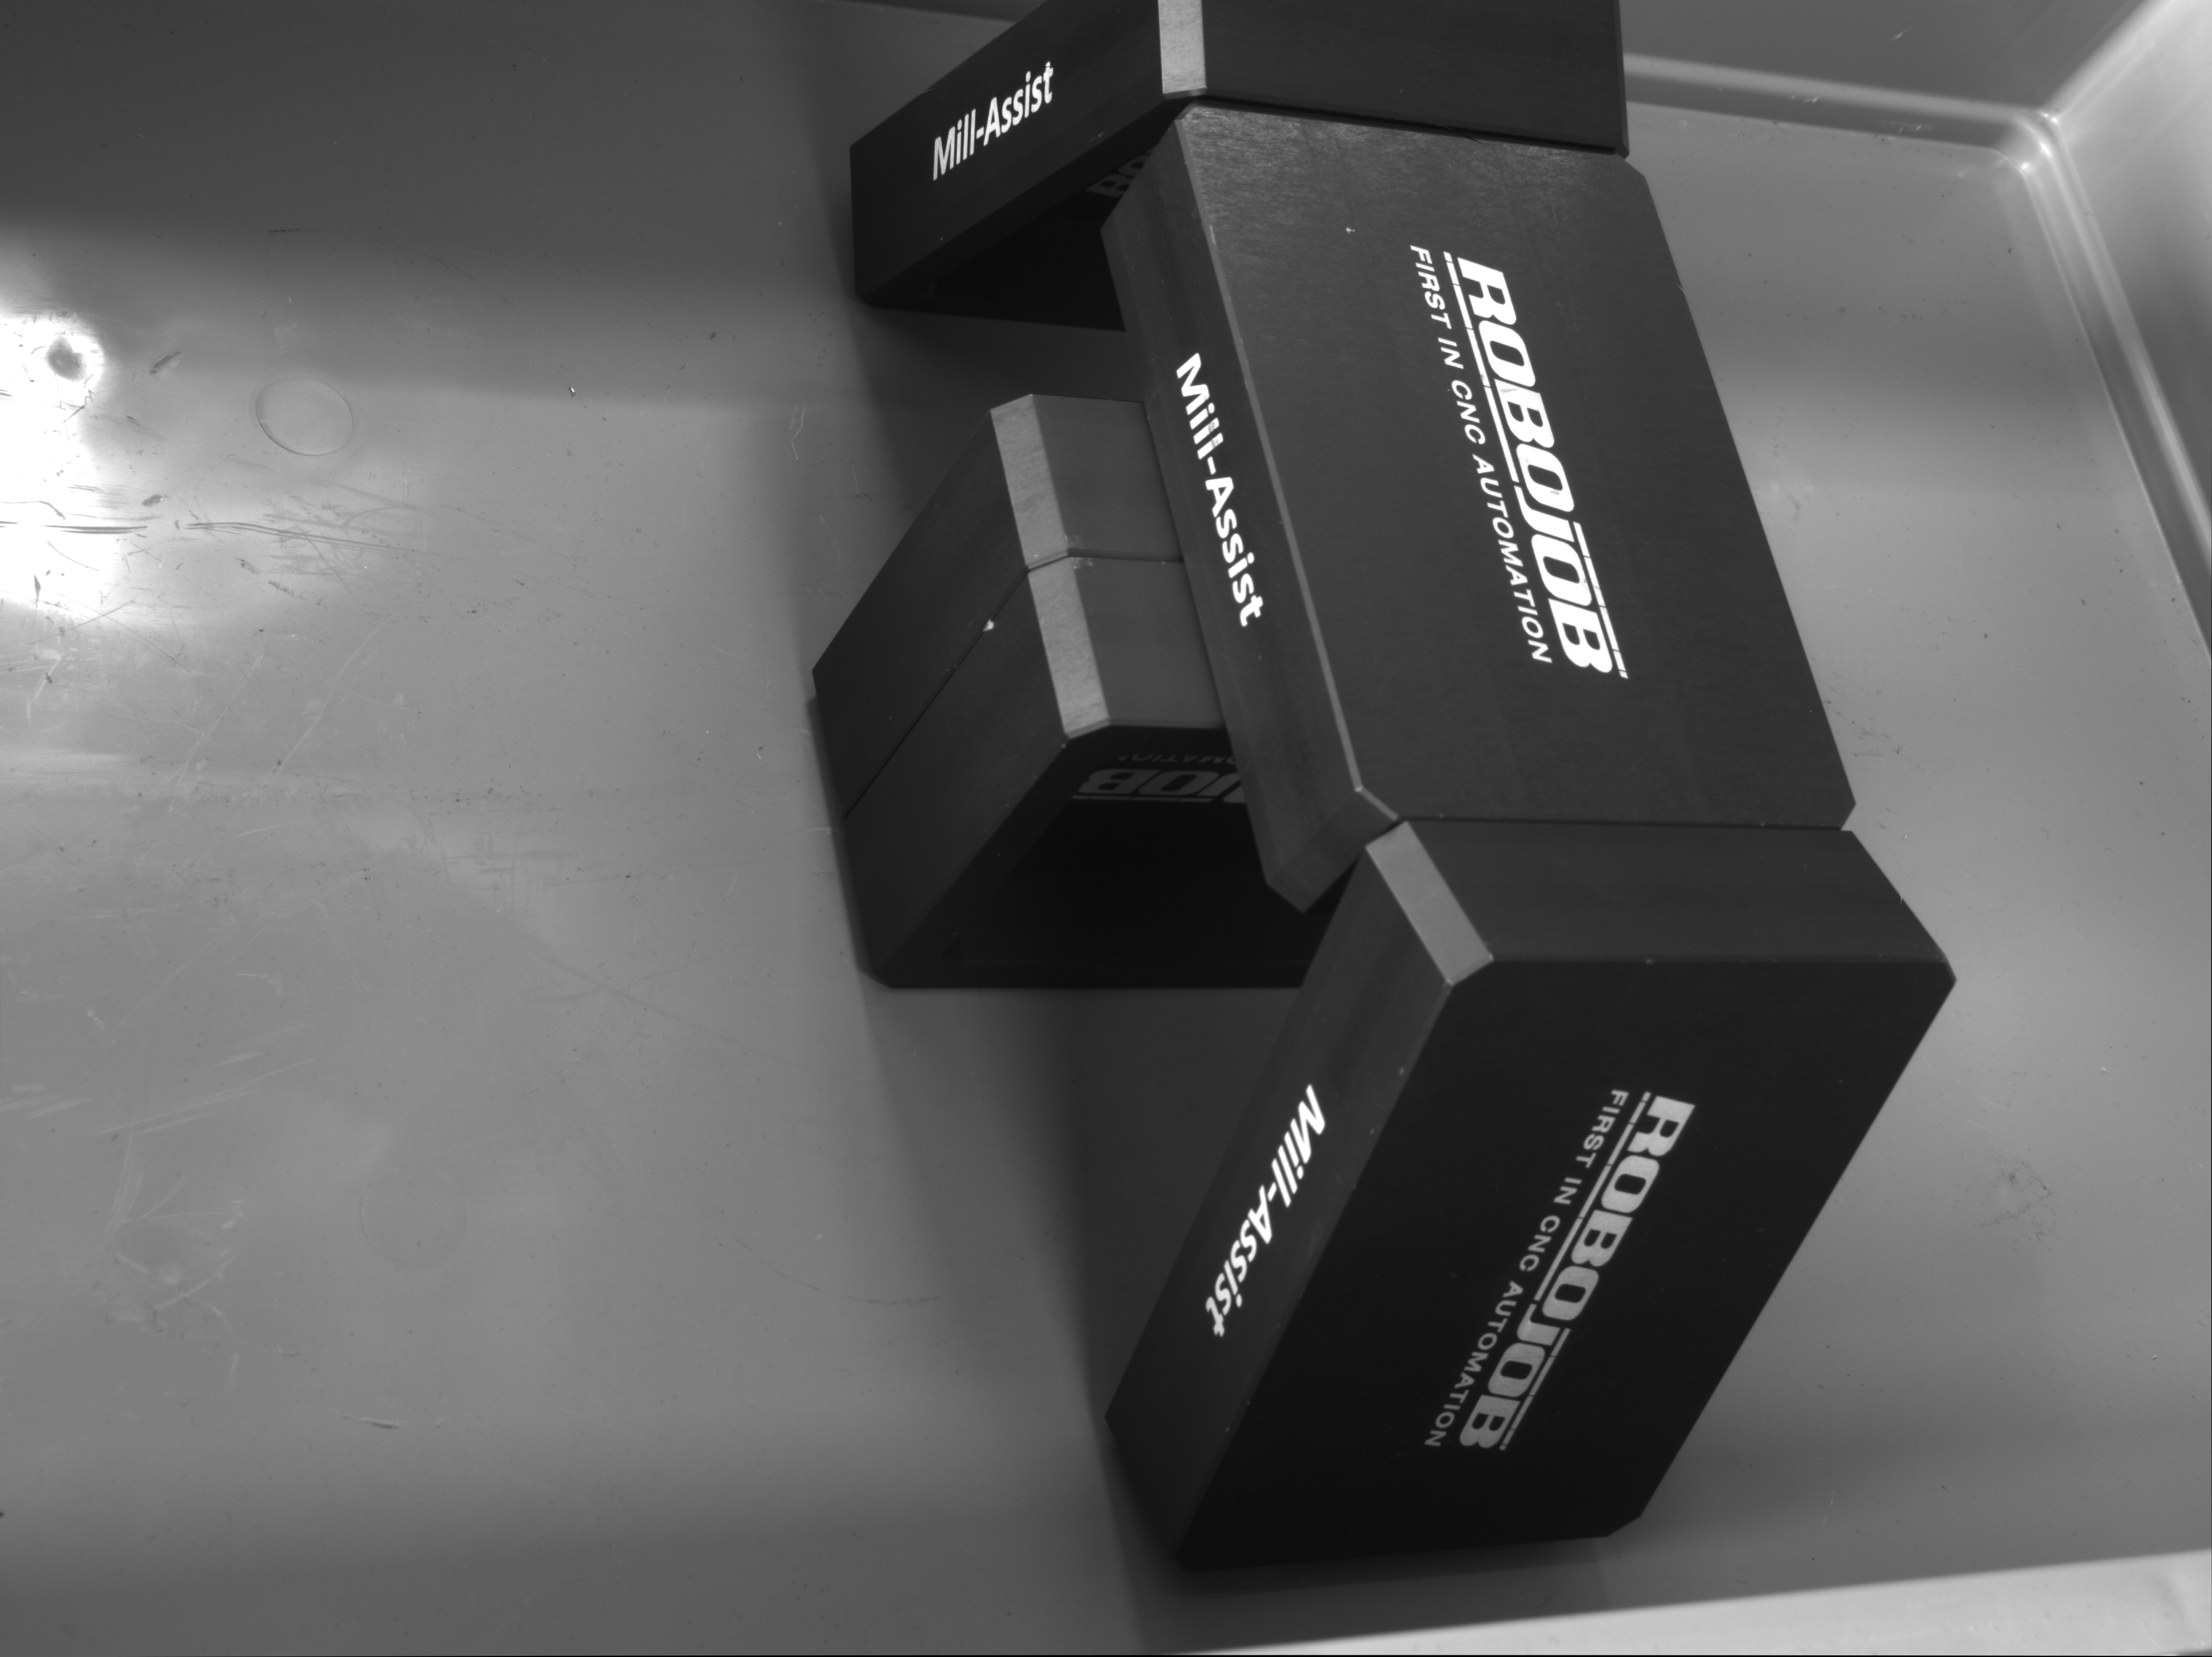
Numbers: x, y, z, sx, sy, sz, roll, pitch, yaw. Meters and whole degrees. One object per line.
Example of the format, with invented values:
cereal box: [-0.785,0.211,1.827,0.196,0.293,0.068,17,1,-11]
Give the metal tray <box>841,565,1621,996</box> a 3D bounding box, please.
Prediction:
metal tray: [0.032,-0.005,0.617,0.130,0.090,0.030,1,61,-28]

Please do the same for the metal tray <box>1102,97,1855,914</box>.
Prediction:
metal tray: [0.057,-0.050,0.580,0.090,0.030,0.130,1,61,-28]

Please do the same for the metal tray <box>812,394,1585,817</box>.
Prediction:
metal tray: [0.026,-0.033,0.630,0.130,0.090,0.030,1,61,-28]

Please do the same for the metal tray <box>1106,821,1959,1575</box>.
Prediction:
metal tray: [0.063,0.058,0.566,0.090,0.130,0.030,1,39,-28]

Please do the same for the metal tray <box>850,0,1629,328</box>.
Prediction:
metal tray: [0.020,-0.121,0.654,0.090,0.130,0.030,1,81,-28]
